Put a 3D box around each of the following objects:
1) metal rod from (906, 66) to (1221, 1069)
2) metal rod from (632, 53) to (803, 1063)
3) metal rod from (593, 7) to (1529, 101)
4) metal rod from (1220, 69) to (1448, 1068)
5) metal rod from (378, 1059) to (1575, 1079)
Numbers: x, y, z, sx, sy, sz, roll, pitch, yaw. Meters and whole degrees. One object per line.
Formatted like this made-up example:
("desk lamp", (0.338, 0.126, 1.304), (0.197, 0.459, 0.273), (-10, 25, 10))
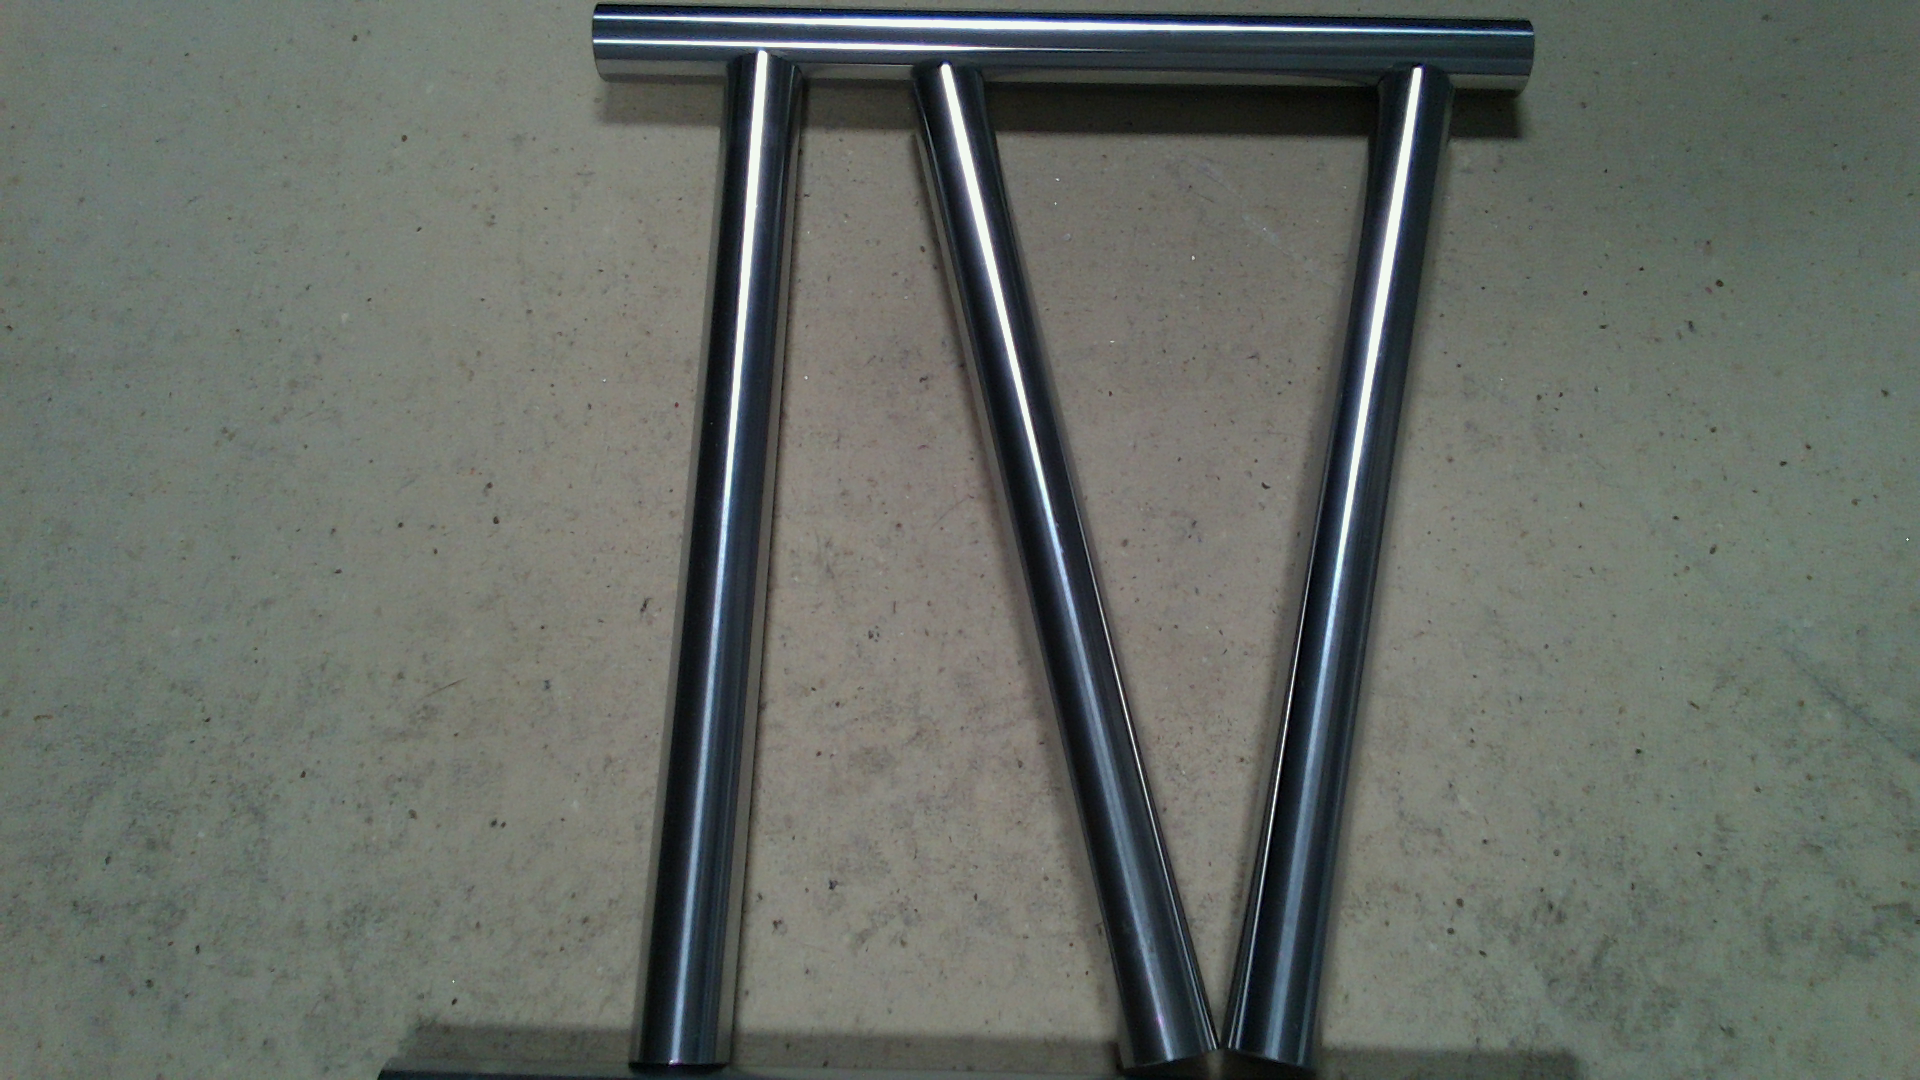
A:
("metal rod", (0.024, -0.008, 0.397), (0.025, 0.025, 0.300), (-11, 70, -4))
("metal rod", (-0.067, -0.010, 0.397), (0.025, 0.025, 0.300), (1, 70, 0))
("metal rod", (0.032, -0.160, 0.453), (0.300, 0.025, 0.025), (1, 70, 0))
("metal rod", (0.111, -0.007, 0.397), (0.025, 0.025, 0.300), (12, 70, 5))
("metal rod", (0.008, 0.145, 0.341), (0.300, 0.025, 0.025), (1, 70, 0))
